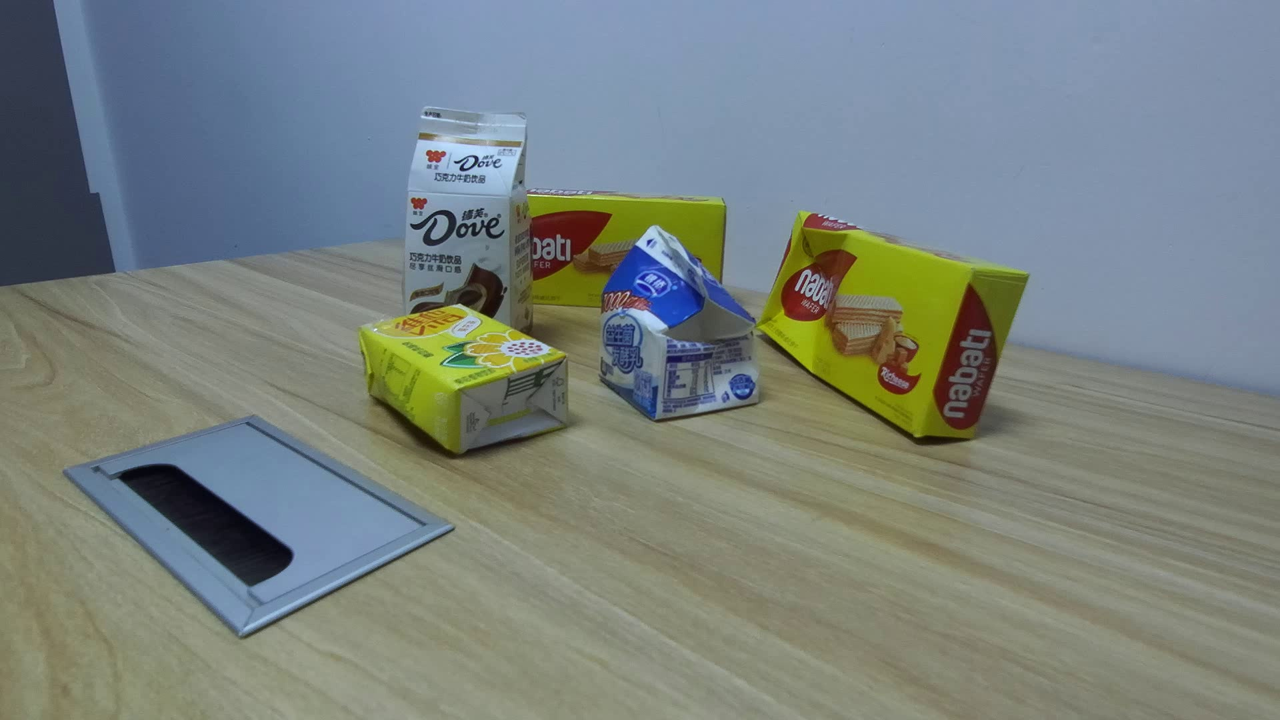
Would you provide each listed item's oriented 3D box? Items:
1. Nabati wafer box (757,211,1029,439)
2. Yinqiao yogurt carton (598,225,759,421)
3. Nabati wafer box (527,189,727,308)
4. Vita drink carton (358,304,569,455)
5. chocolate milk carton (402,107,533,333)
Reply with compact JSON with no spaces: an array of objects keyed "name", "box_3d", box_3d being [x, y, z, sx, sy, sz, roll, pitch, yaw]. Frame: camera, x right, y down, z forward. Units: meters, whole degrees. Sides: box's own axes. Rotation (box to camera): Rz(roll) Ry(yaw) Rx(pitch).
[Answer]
[{"name":"Nabati wafer box","box_3d":[0.139,-0.032,0.446,0.042,0.096,0.202,6,18,-21]},{"name":"Yinqiao yogurt carton","box_3d":[0.022,-0.026,0.410,0.077,0.093,0.083,-7,22,-27]},{"name":"Nabati wafer box","box_3d":[-0.028,-0.092,0.598,0.203,0.093,0.042,4,15,6]},{"name":"Vita drink carton","box_3d":[-0.099,0.009,0.376,0.077,0.043,0.108,-19,30,-39]},{"name":"chocolate milk carton","box_3d":[-0.115,-0.086,0.472,0.084,0.155,0.073,3,21,2]}]
